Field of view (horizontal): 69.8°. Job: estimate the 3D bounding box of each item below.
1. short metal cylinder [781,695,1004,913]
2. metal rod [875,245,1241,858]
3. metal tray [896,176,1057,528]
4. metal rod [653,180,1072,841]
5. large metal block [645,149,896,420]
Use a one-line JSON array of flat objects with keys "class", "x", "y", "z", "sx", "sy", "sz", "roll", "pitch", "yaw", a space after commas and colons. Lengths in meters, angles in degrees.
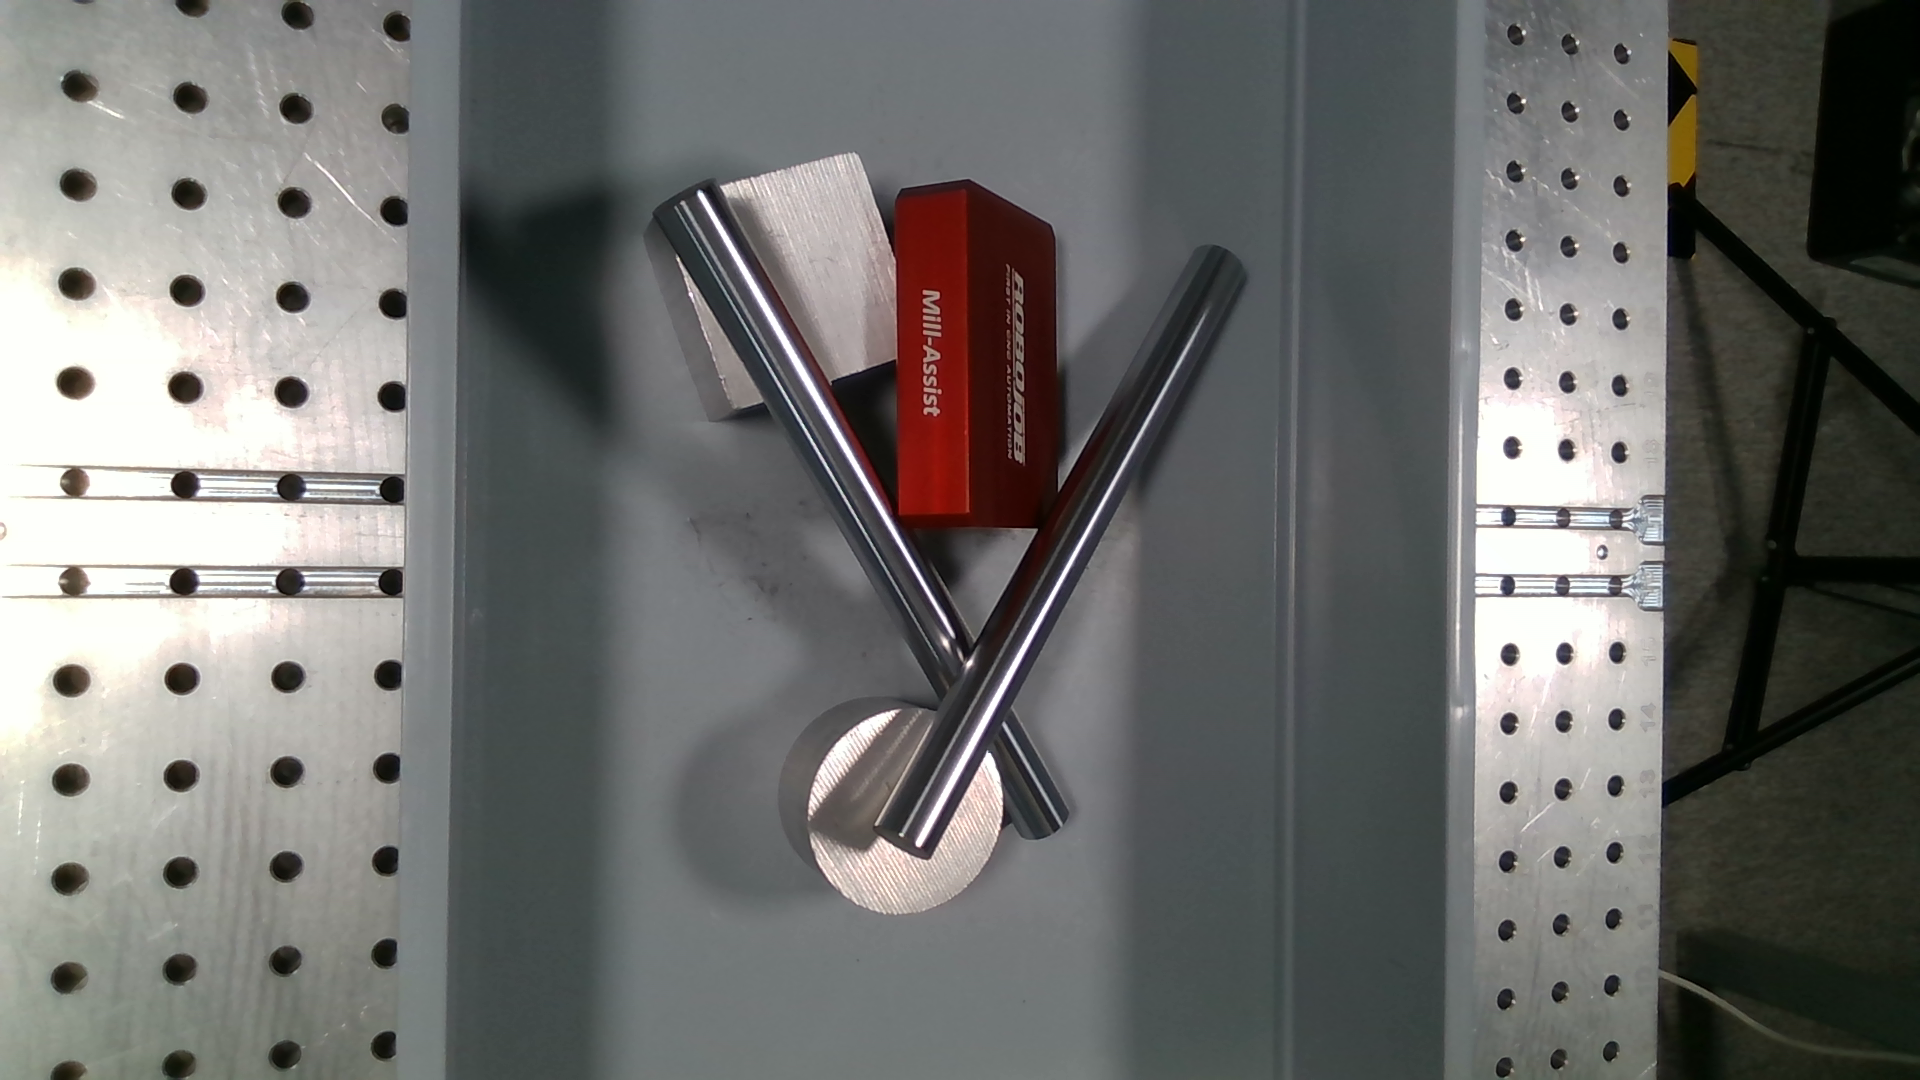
[{"class": "short metal cylinder", "x": -0.029, "y": 0.105, "z": 0.560, "sx": 0.080, "sy": 0.050, "sz": 0.080, "roll": 0, "pitch": 90, "yaw": -20}, {"class": "metal rod", "x": 0.048, "y": -0.007, "z": 0.571, "sx": 0.025, "sy": 0.025, "sz": 0.299, "roll": 37, "pitch": 66, "yaw": -16}, {"class": "metal tray", "x": 0.009, "y": -0.070, "z": 0.556, "sx": 0.090, "sy": 0.030, "sz": 0.130, "roll": 2, "pitch": 87, "yaw": -64}, {"class": "metal rod", "x": -0.029, "y": 0.002, "z": 0.535, "sx": 0.025, "sy": 0.025, "sz": 0.301, "roll": -37, "pitch": 116, "yaw": -16}, {"class": "large metal block", "x": -0.071, "y": -0.099, "z": 0.542, "sx": 0.080, "sy": 0.050, "sz": 0.080, "roll": -21, "pitch": 97, "yaw": -19}]
